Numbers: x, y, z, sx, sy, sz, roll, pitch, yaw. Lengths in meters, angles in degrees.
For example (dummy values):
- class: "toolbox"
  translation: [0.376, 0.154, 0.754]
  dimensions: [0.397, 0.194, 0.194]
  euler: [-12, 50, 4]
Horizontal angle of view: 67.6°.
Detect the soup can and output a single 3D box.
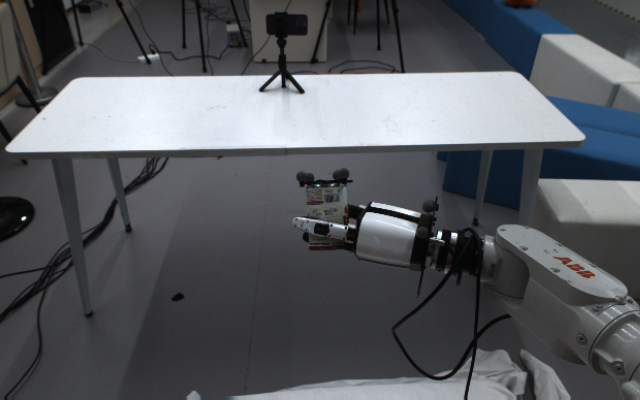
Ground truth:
- class: "soup can"
  translation: [0.013, 0.027, 0.769]
  dimensions: [0.067, 0.101, 0.067]
  euler: [-3, -1, 0]
